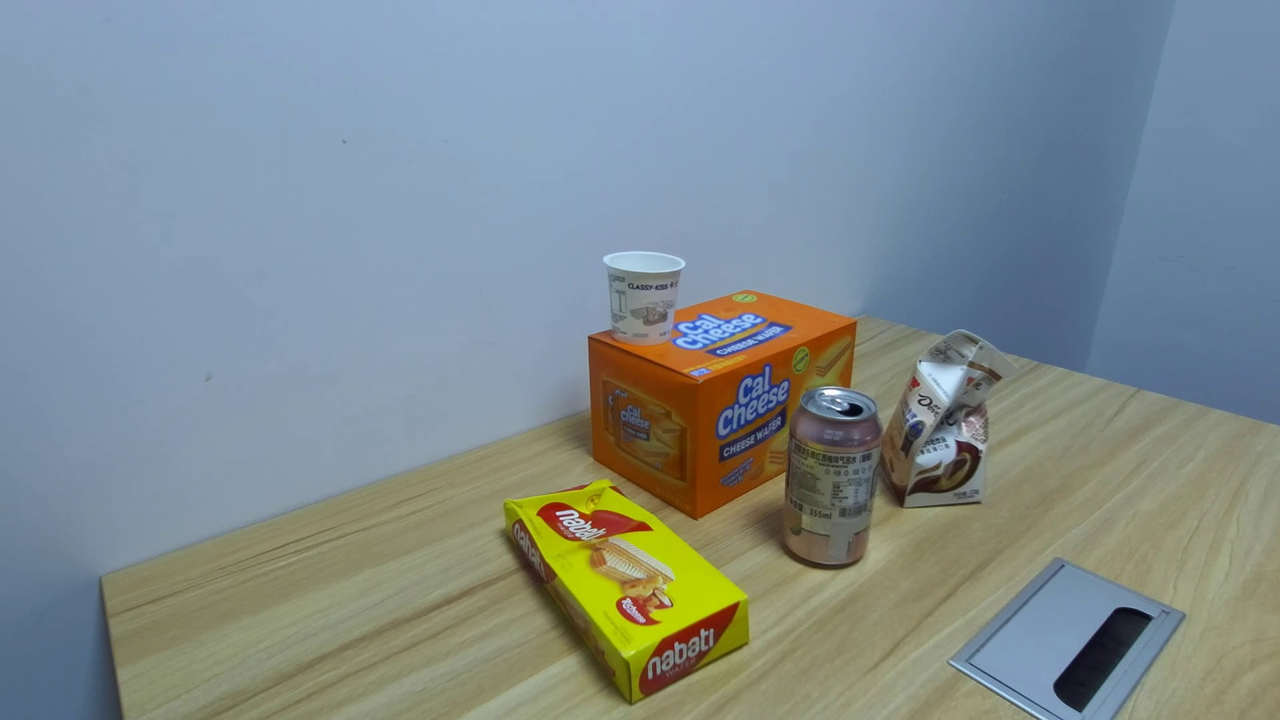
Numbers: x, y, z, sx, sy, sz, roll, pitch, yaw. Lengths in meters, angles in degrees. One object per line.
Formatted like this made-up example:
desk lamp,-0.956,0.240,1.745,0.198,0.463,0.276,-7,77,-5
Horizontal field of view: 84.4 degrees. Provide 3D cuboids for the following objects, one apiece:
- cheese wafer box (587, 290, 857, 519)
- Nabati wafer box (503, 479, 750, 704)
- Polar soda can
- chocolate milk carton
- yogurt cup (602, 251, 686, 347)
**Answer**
cheese wafer box,0.080,0.029,0.674,0.223,0.129,0.147,-18,28,-38
Nabati wafer box,-0.019,0.144,0.505,0.097,0.042,0.202,-14,25,-27
Polar soda can,0.142,0.087,0.528,0.067,0.125,0.067,0,20,0
chocolate milk carton,0.266,0.048,0.605,0.089,0.155,0.076,10,24,-13
yogurt cup,0.003,-0.053,0.616,0.072,0.068,0.072,2,21,0
